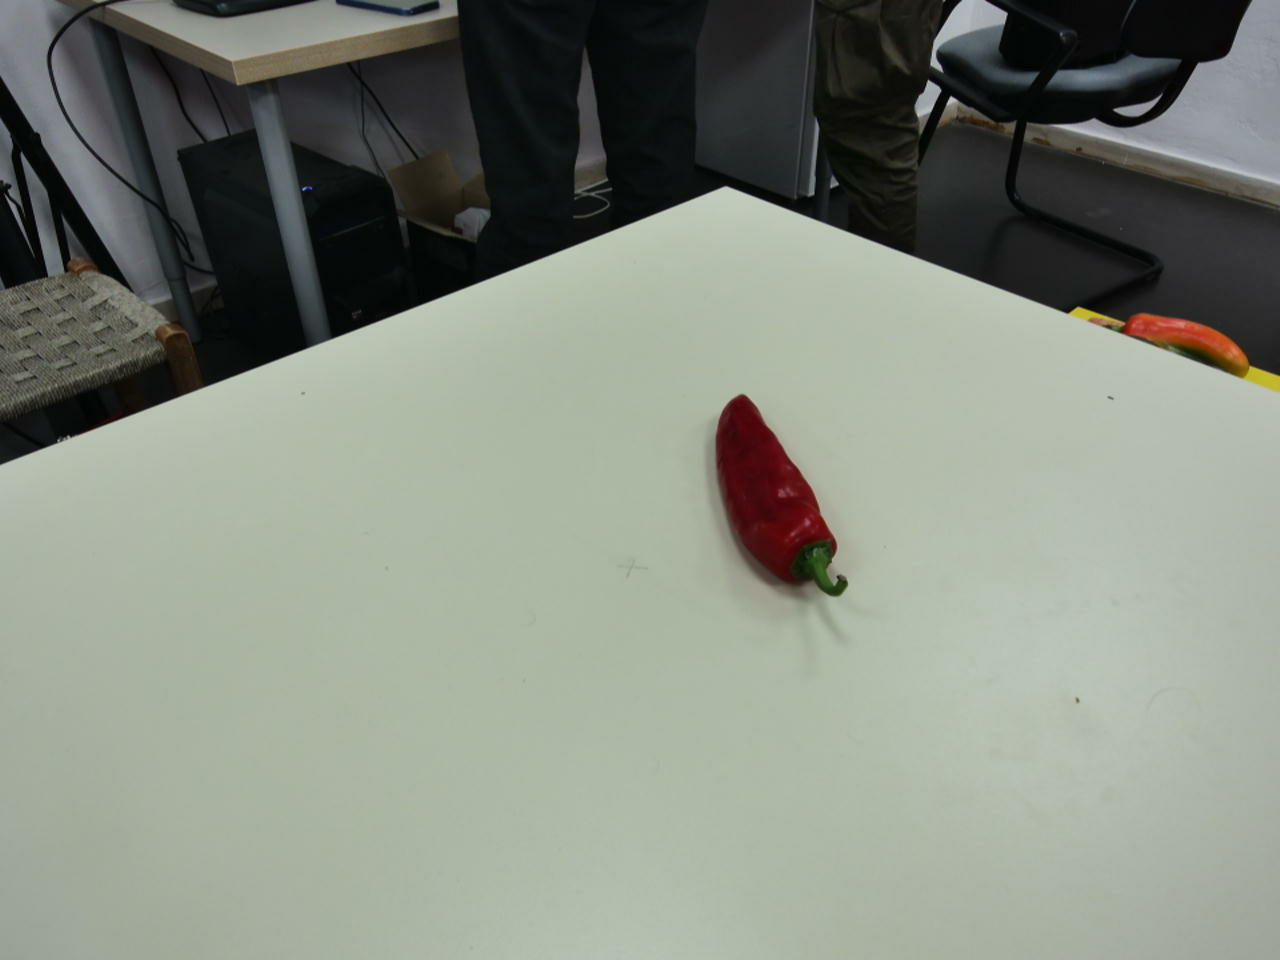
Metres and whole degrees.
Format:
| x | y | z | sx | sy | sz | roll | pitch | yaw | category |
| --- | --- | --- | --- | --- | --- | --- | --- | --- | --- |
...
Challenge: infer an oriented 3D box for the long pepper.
| x | y | z | sx | sy | sz | roll | pitch | yaw | category |
| --- | --- | --- | --- | --- | --- | --- | --- | --- | --- |
| 0.077 | 0.005 | 0.603 | 0.050 | 0.043 | 0.211 | -6 | 37 | -7 | long pepper |
